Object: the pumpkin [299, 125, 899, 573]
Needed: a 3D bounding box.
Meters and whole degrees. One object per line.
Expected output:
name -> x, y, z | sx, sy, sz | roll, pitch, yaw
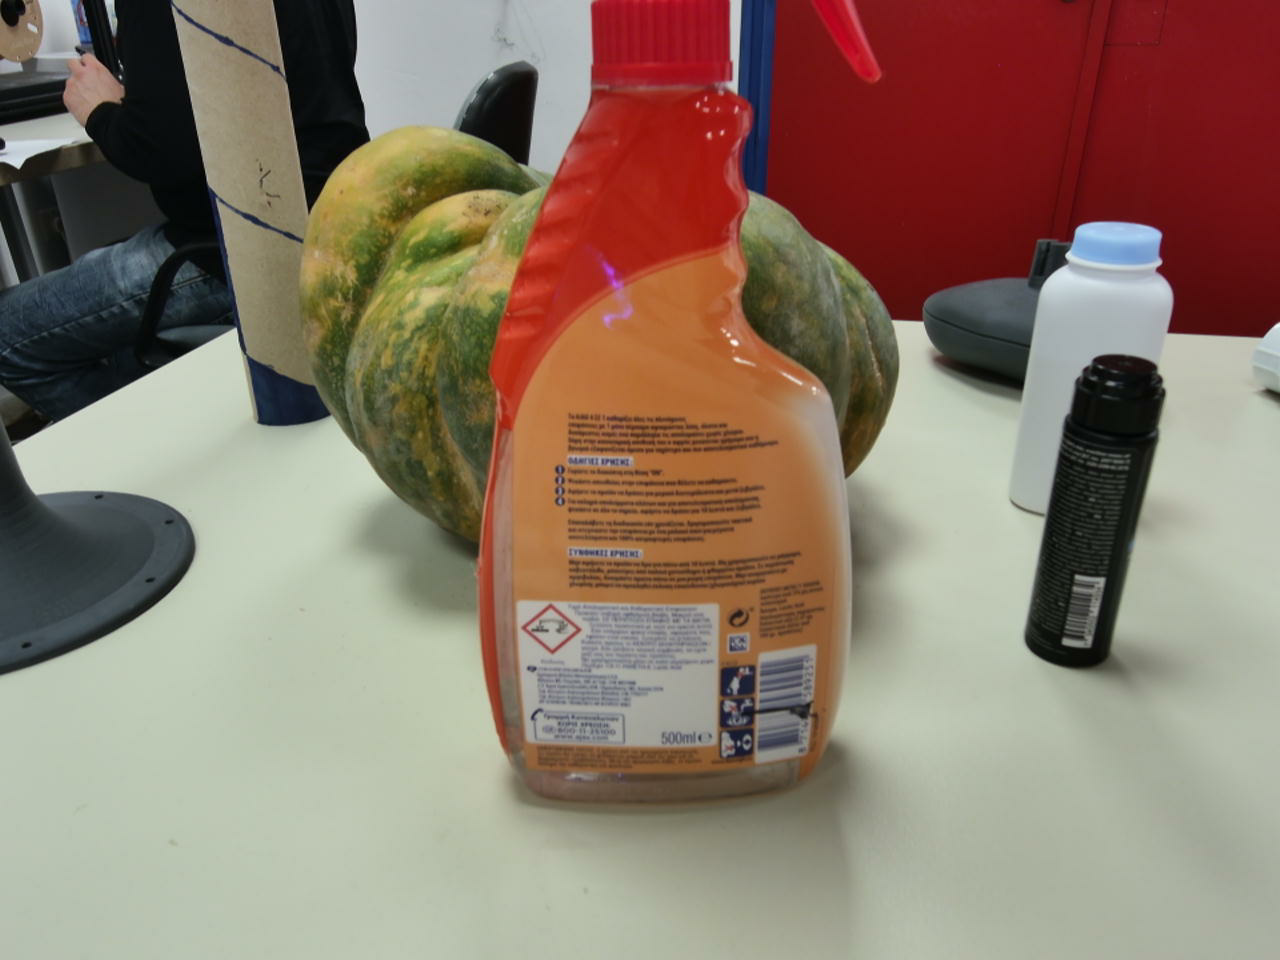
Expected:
pumpkin -> -0.018, -0.066, 0.445 | 0.237, 0.173, 0.270 | -19, 31, -36
